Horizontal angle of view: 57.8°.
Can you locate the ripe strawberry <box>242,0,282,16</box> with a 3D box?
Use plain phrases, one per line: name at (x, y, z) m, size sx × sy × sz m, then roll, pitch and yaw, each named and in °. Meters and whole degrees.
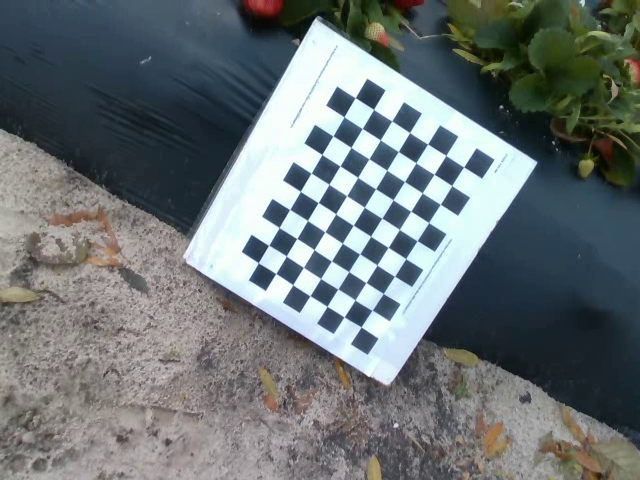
ripe strawberry at (-0.046, -0.202, 0.491) m, size 0.037 × 0.046 × 0.036 m, roll -11°, pitch -41°, yaw 9°
